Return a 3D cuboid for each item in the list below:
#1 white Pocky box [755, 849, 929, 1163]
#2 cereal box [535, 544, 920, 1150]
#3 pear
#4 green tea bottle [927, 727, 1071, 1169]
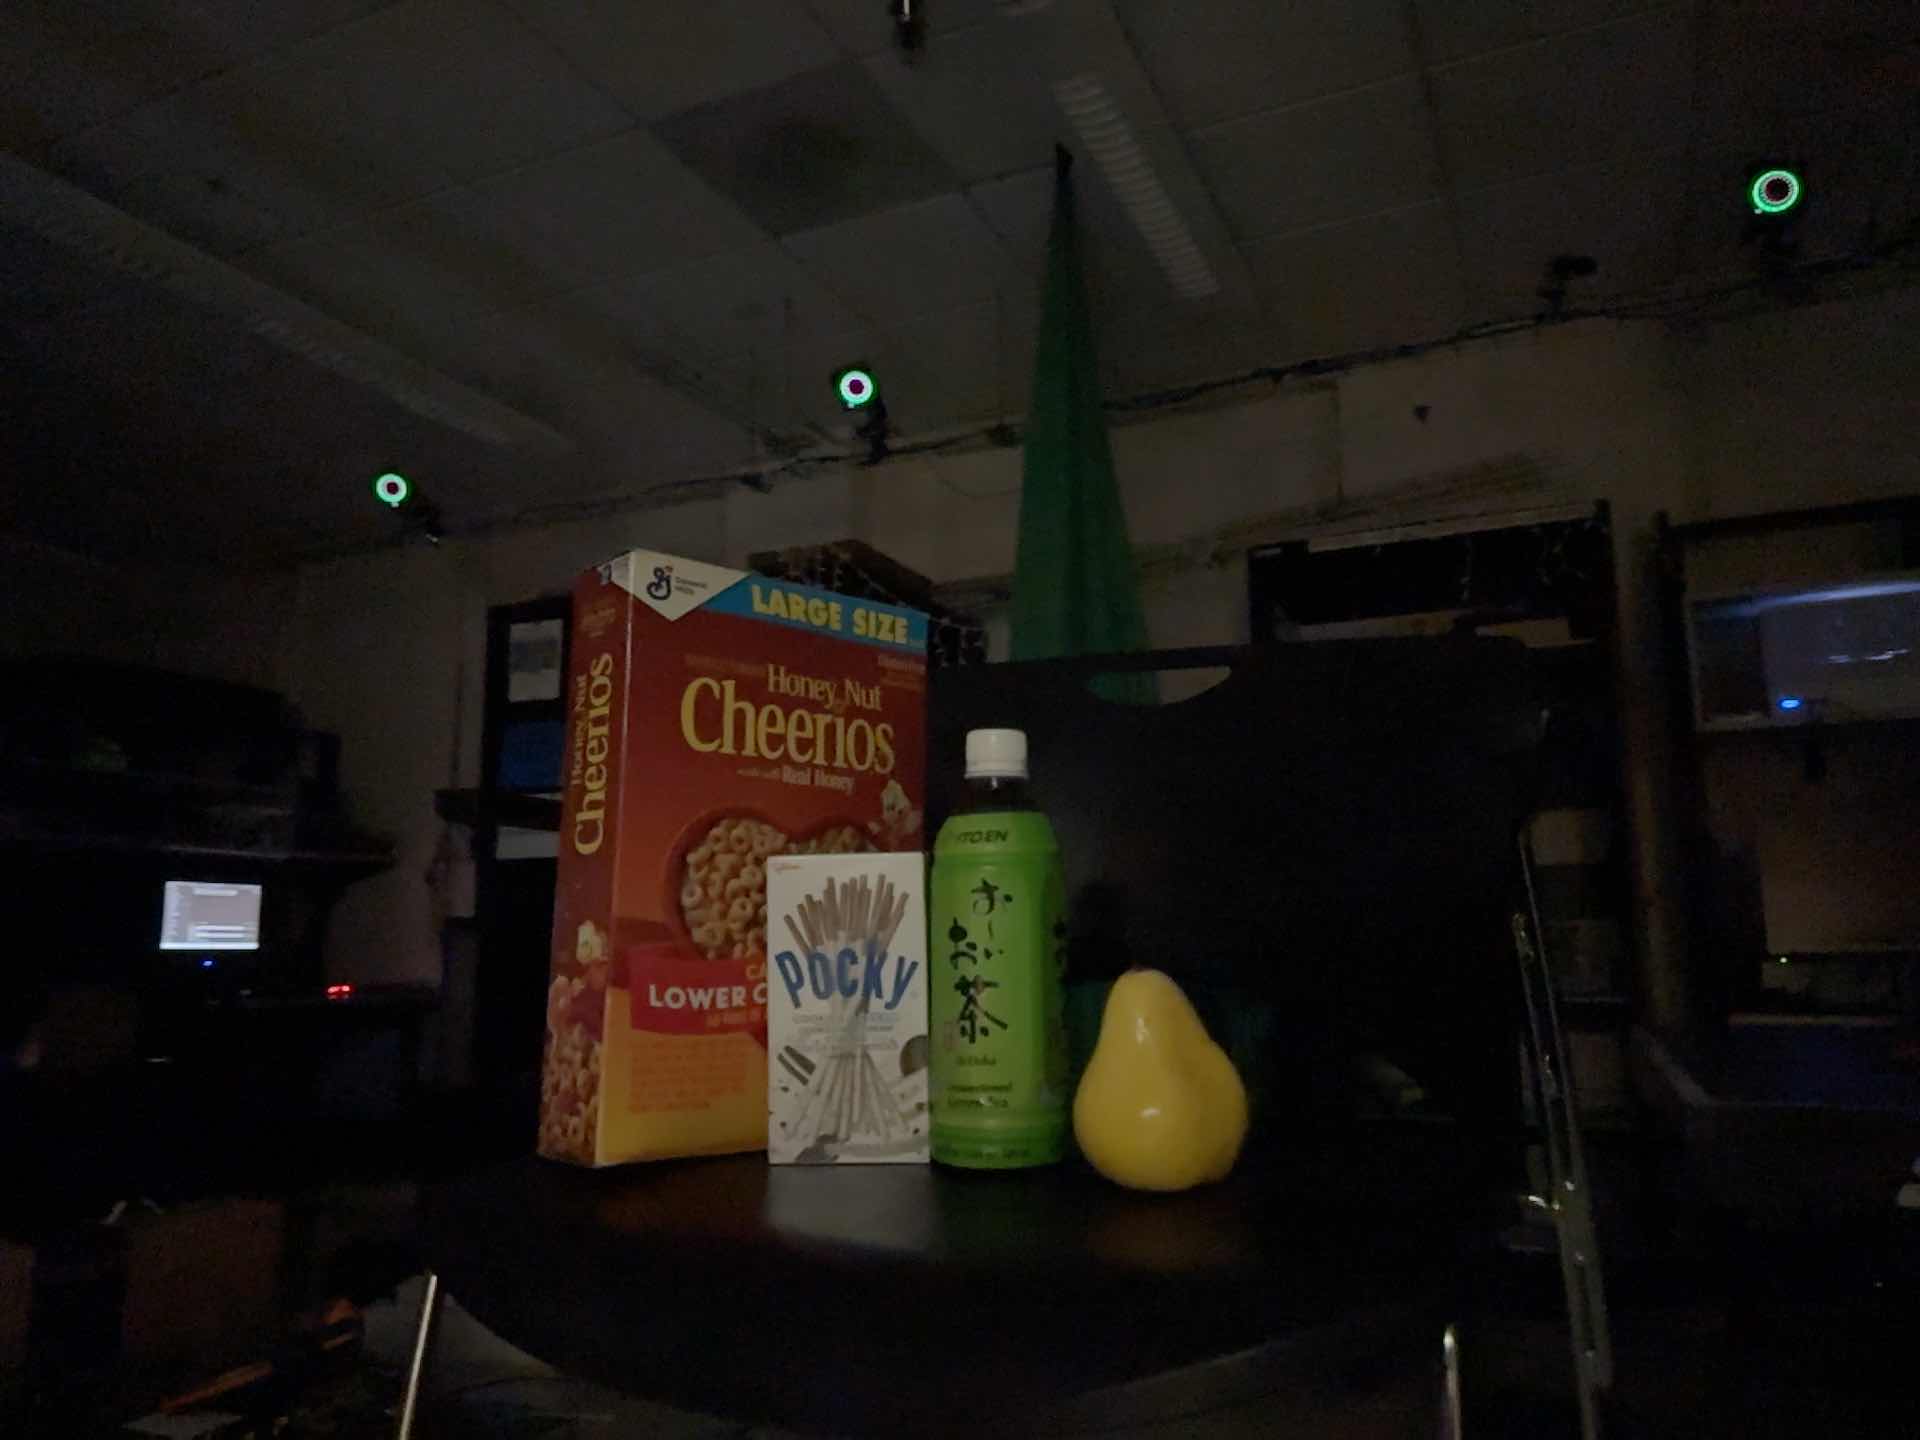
[{"bbox_3d":[-0.060,0.143,0.684,0.084,0.154,0.028,-2,-2,7],"label":"white Pocky box"},{"bbox_3d":[-0.122,0.070,0.757,0.195,0.297,0.065,10,-12,-43],"label":"cereal box"},{"bbox_3d":[0.087,0.153,0.613,0.080,0.111,0.080,-1,-13,0],"label":"pear"},{"bbox_3d":[0.017,0.110,0.675,0.073,0.212,0.073,-3,-9,-1],"label":"green tea bottle"}]
